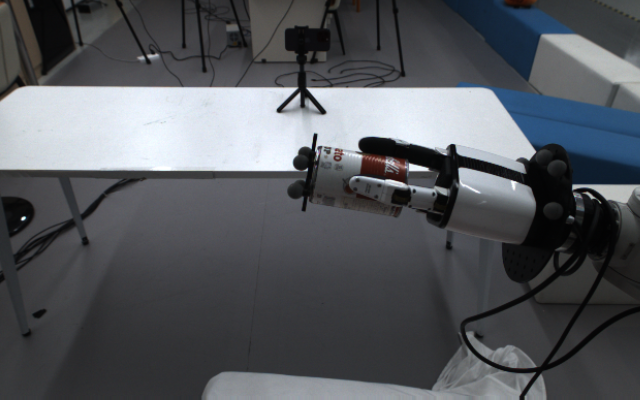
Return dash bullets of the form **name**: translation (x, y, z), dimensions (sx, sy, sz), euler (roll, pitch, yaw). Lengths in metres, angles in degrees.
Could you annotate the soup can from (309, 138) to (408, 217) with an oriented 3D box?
- **soup can**: translation (0.046, -0.023, 0.549), dimensions (0.101, 0.067, 0.067), euler (9, 35, 0)
